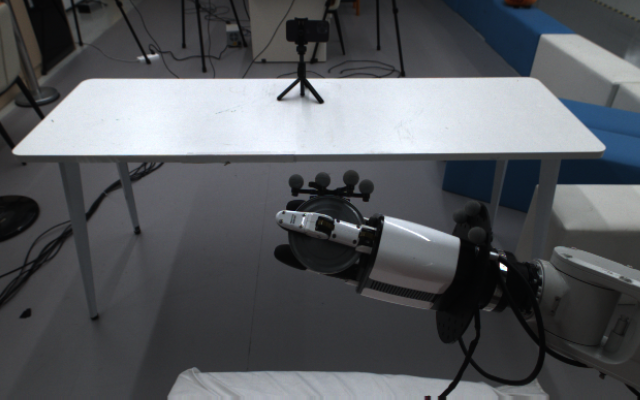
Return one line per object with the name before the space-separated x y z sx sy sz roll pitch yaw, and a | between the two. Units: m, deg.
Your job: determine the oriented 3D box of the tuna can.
tuna can | 0.011 0.043 0.535 0.085 0.034 0.085 0 78 0
